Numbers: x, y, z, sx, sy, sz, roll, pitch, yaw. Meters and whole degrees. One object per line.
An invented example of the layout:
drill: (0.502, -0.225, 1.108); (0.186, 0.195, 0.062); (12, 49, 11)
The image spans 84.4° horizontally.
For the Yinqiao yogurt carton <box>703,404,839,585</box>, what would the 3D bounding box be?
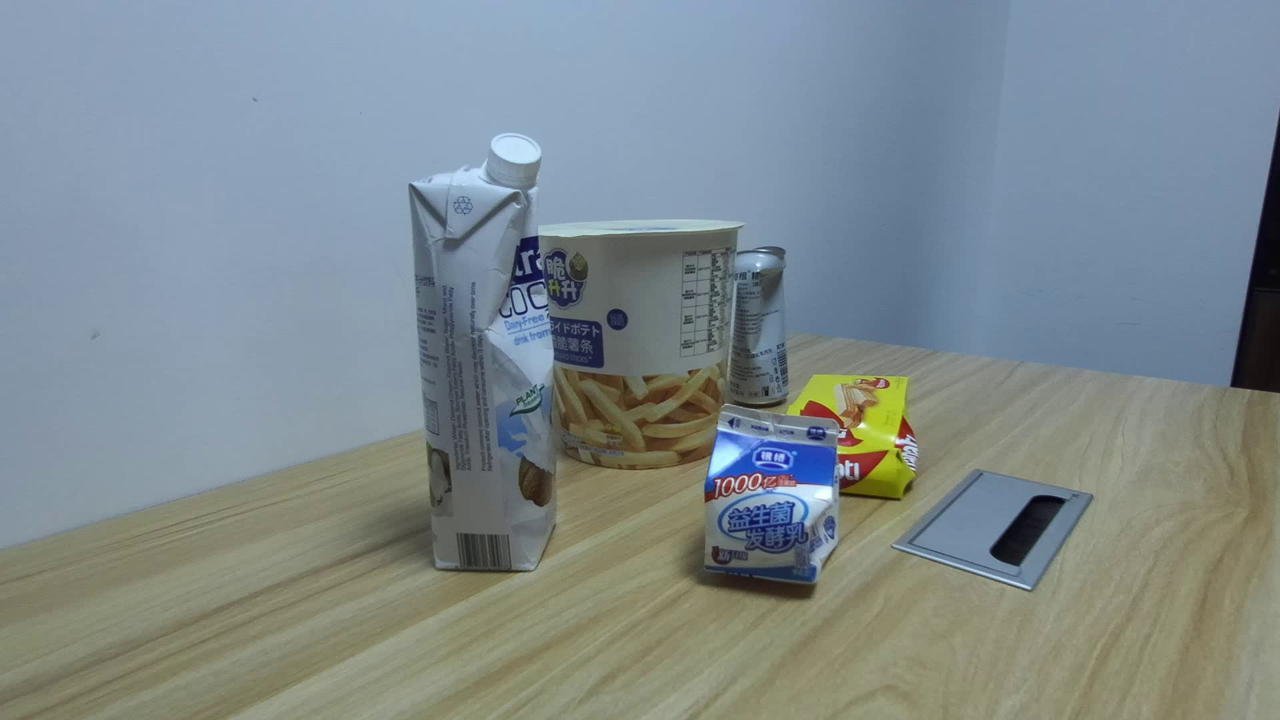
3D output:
Yinqiao yogurt carton: (0.080, 0.076, 0.418); (0.074, 0.097, 0.080); (3, 8, 16)

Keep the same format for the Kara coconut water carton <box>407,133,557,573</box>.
Kara coconut water carton: (-0.093, -0.002, 0.433); (0.078, 0.255, 0.083); (4, 15, 17)

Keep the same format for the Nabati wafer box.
Nabati wafer box: (0.183, 0.059, 0.606); (0.106, 0.042, 0.205); (4, 16, 21)

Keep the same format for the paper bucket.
paper bucket: (-0.002, -0.020, 0.627); (0.198, 0.194, 0.198); (-2, 14, 1)
